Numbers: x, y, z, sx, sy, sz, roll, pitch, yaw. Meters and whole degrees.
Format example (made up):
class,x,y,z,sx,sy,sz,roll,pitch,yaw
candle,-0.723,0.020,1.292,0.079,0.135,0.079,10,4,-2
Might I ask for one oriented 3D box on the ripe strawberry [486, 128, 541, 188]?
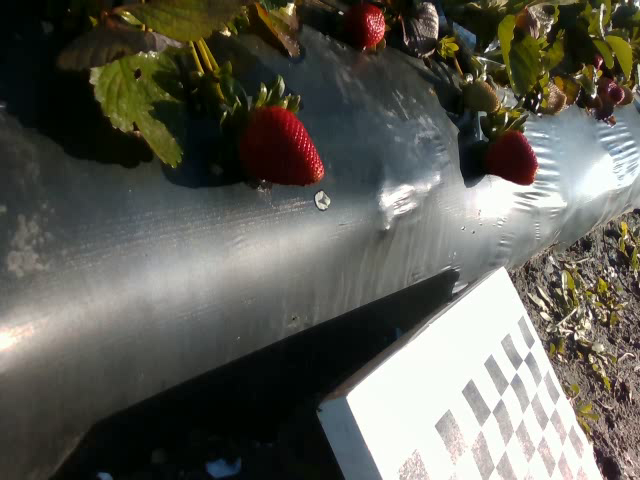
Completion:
class,x,y,z,sx,sy,sz,roll,pitch,yaw
ripe strawberry,0.157,-0.064,0.497,0.042,0.059,0.042,-35,-30,23

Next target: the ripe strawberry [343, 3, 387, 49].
class,x,y,z,sx,sy,sz,roll,pitch,yaw
ripe strawberry,0.034,-0.158,0.439,0.035,0.035,0.046,-26,-4,23

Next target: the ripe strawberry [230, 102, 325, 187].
class,x,y,z,sx,sy,sz,roll,pitch,yaw
ripe strawberry,-0.017,-0.043,0.296,0.055,0.042,0.045,41,20,24
